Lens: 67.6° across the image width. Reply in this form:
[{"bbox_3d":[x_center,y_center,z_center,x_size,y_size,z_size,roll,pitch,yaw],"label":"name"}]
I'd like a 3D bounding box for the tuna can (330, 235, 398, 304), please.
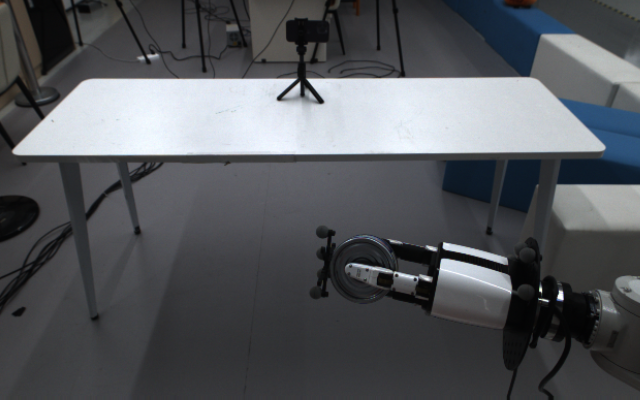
[{"bbox_3d":[0.059,0.090,0.615,0.085,0.085,0.034,9,2,11],"label":"tuna can"}]
